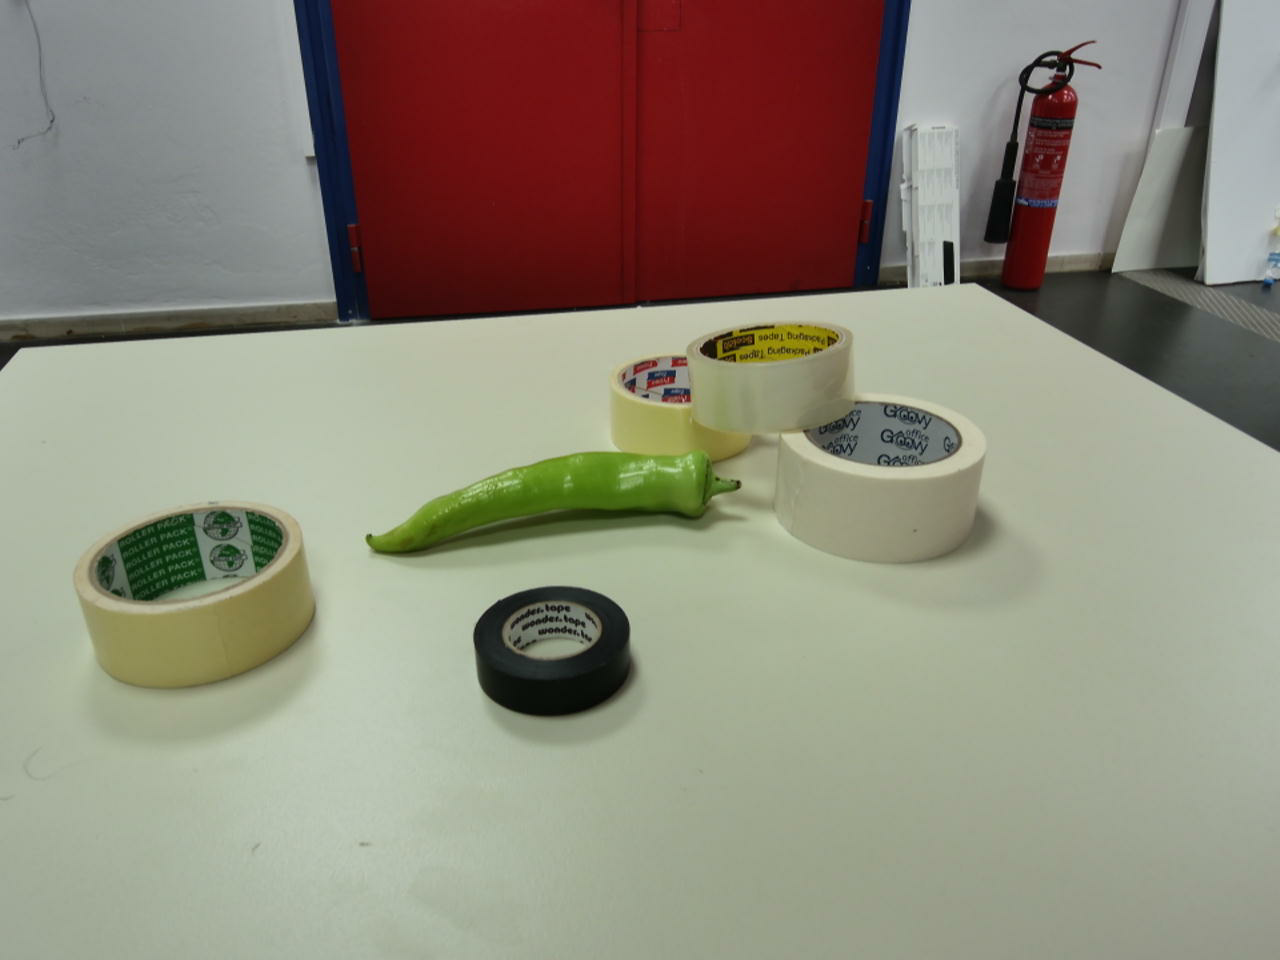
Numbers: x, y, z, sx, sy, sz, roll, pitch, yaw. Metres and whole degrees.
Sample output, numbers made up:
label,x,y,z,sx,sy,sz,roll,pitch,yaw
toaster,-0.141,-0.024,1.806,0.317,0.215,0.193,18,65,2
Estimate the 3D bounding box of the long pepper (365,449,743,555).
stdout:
label,x,y,z,sx,sy,sz,roll,pitch,yaw
long pepper,-0.045,0.006,0.528,0.197,0.038,0.046,-5,26,-10
